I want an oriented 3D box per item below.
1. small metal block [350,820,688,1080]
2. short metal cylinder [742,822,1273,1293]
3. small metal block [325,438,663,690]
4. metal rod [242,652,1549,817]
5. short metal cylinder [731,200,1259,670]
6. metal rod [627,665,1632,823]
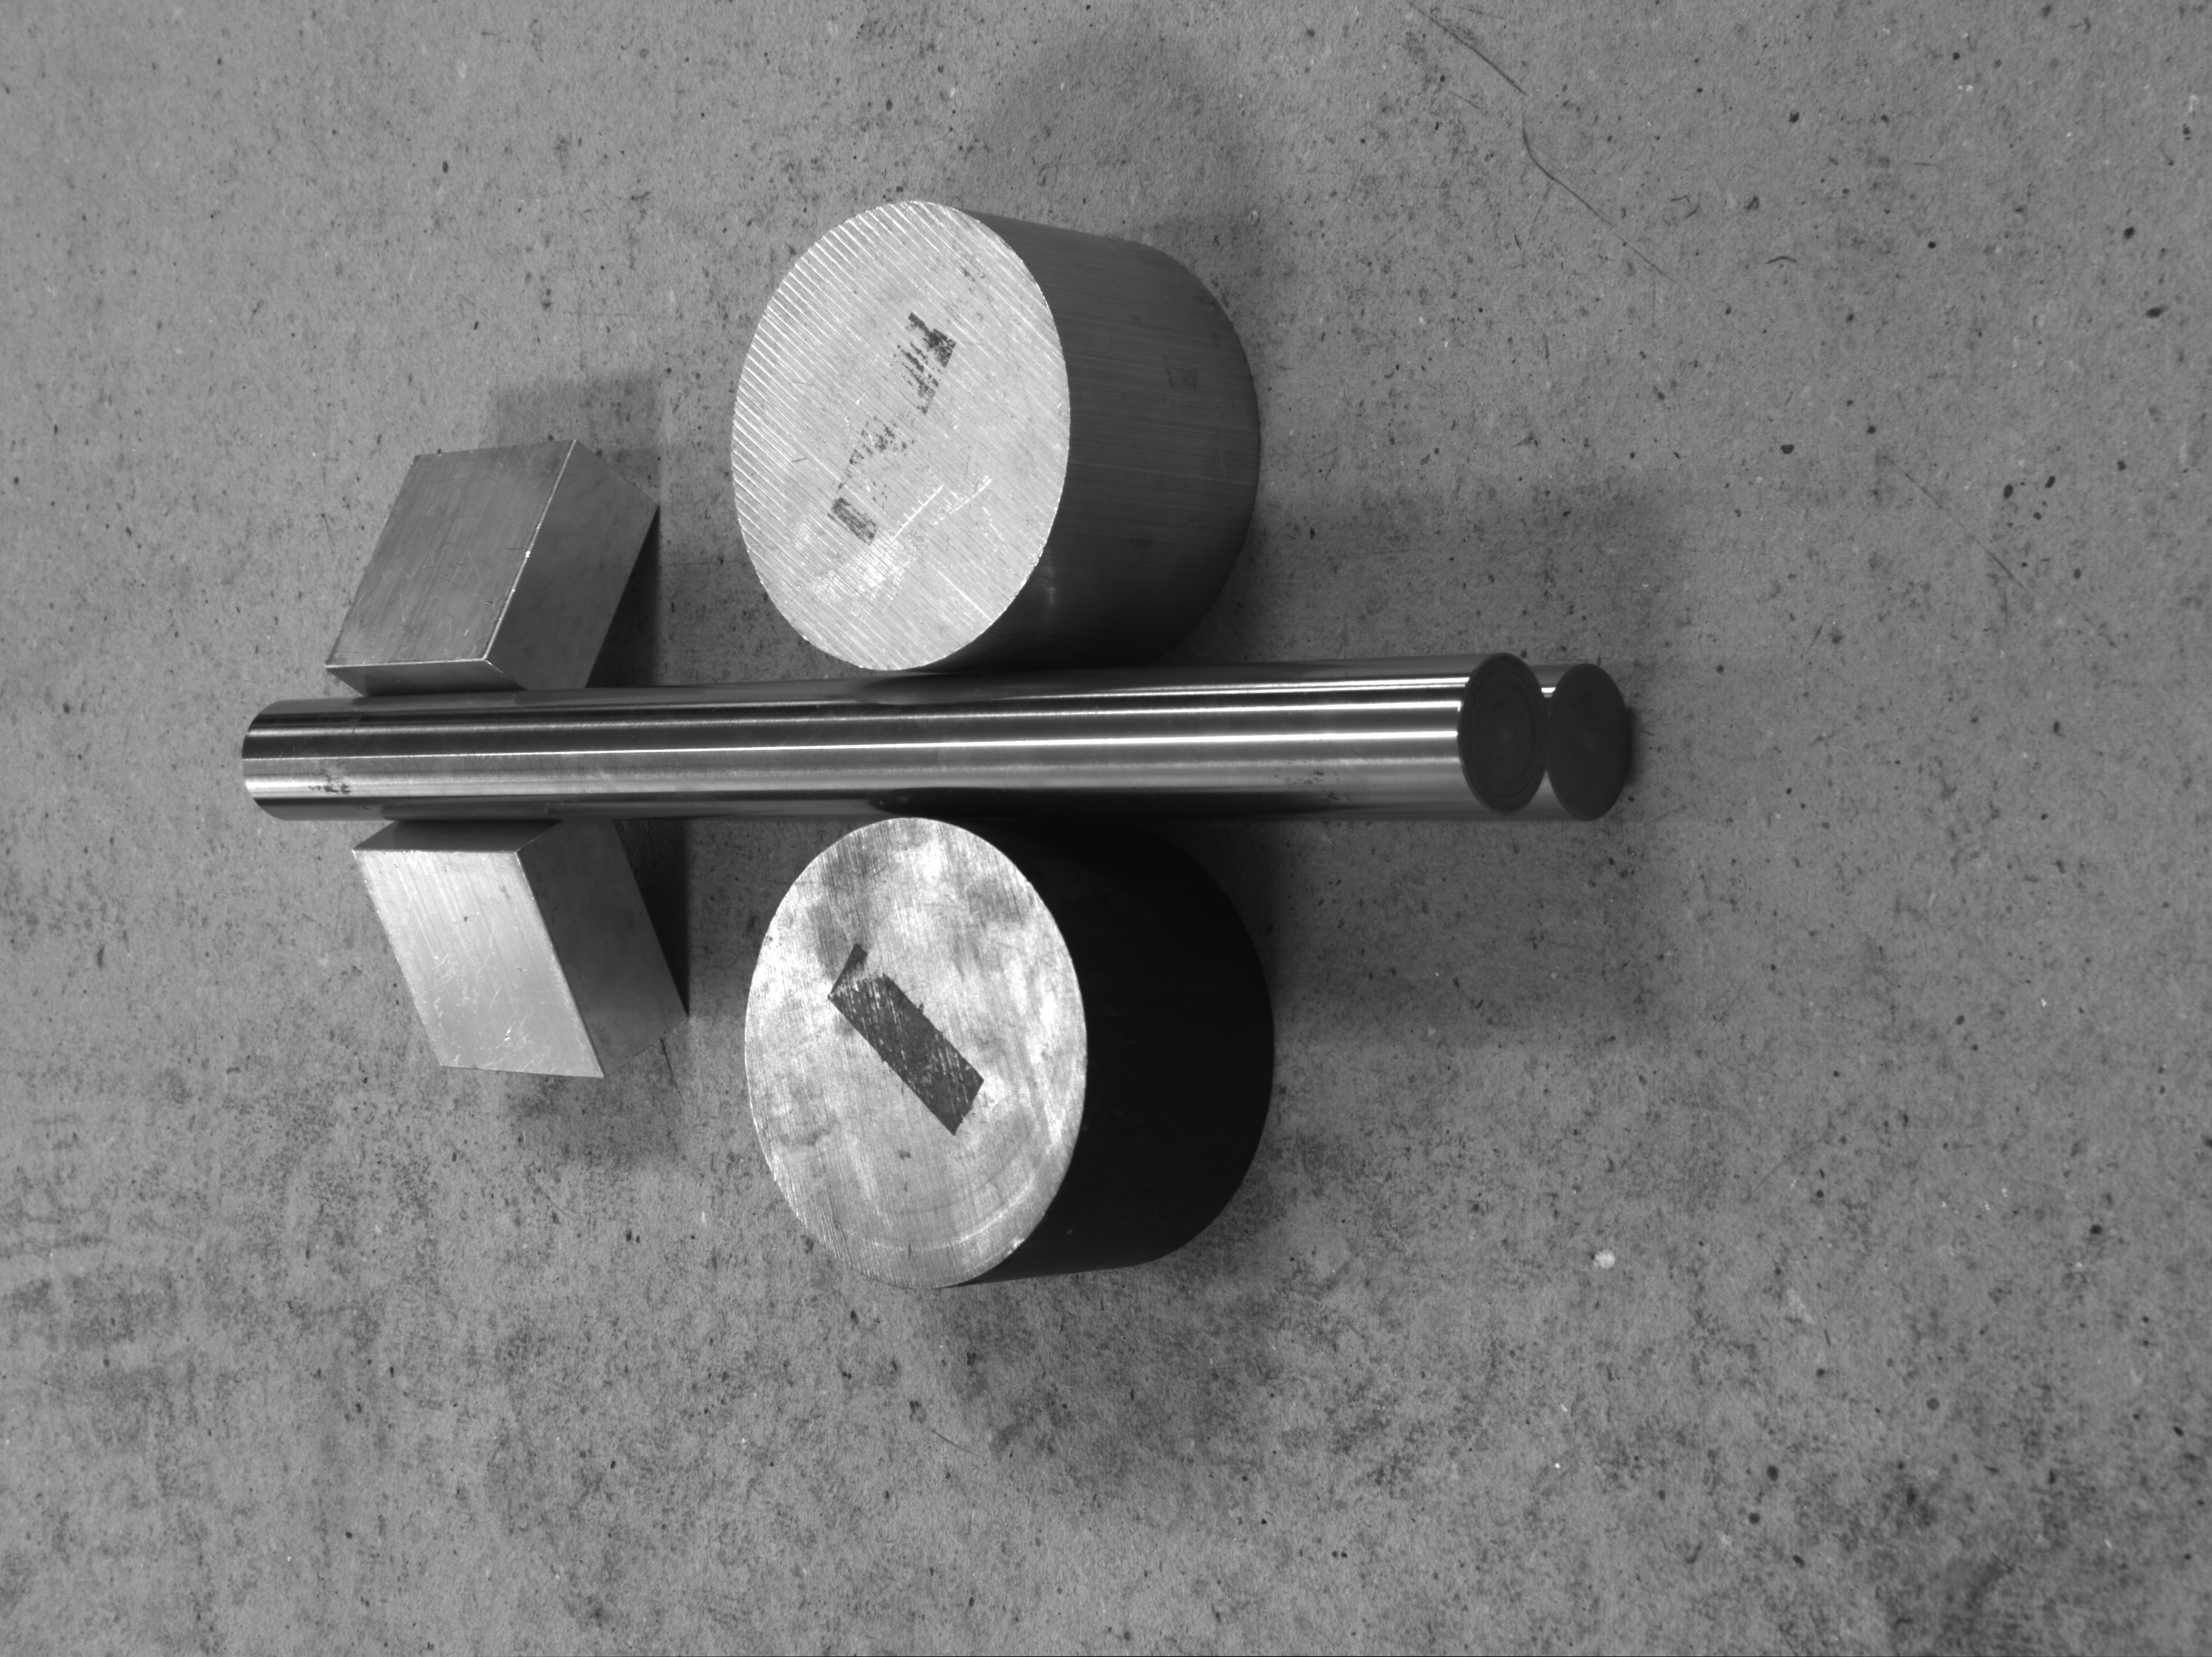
[{"bbox_3d":[-0.117,0.021,0.731,0.050,0.025,0.050,0,117,40],"label":"small metal block"},{"bbox_3d":[-0.018,0.039,0.644,0.080,0.050,0.080,0,90,40],"label":"short metal cylinder"},{"bbox_3d":[-0.123,-0.049,0.737,0.050,0.025,0.050,0,63,40],"label":"small metal block"},{"bbox_3d":[-0.053,-0.015,0.658,0.299,0.025,0.025,0,90,40],"label":"metal rod"},{"bbox_3d":[-0.020,-0.067,0.646,0.080,0.050,0.080,0,90,40],"label":"short metal cylinder"},{"bbox_3d":[-0.038,-0.014,0.678,0.299,0.025,0.025,0,90,40],"label":"metal rod"}]
